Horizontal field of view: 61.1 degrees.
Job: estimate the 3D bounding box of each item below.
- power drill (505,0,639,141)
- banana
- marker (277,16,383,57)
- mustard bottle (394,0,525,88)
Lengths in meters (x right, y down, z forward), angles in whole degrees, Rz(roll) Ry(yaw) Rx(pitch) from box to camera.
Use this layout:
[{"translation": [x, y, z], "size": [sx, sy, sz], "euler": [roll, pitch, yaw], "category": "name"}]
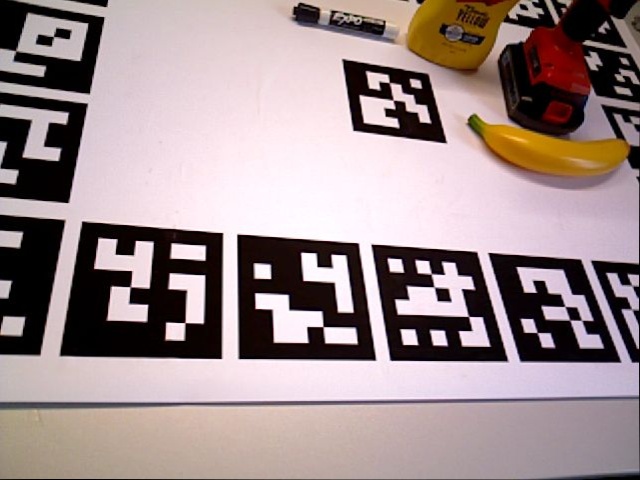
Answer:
[{"translation": [0.265, -0.191, 0.542], "size": [0.057, 0.191, 0.181], "euler": [18, 54, -10], "category": "power drill"}, {"translation": [0.232, -0.068, 0.578], "size": [0.196, 0.040, 0.073], "euler": [12, 60, -9], "category": "banana"}, {"translation": [0.011, -0.227, 0.605], "size": [0.120, 0.020, 0.019], "euler": [8, 60, -14], "category": "marker"}, {"translation": [0.157, -0.249, 0.560], "size": [0.095, 0.196, 0.057], "euler": [16, 56, -10], "category": "mustard bottle"}]
